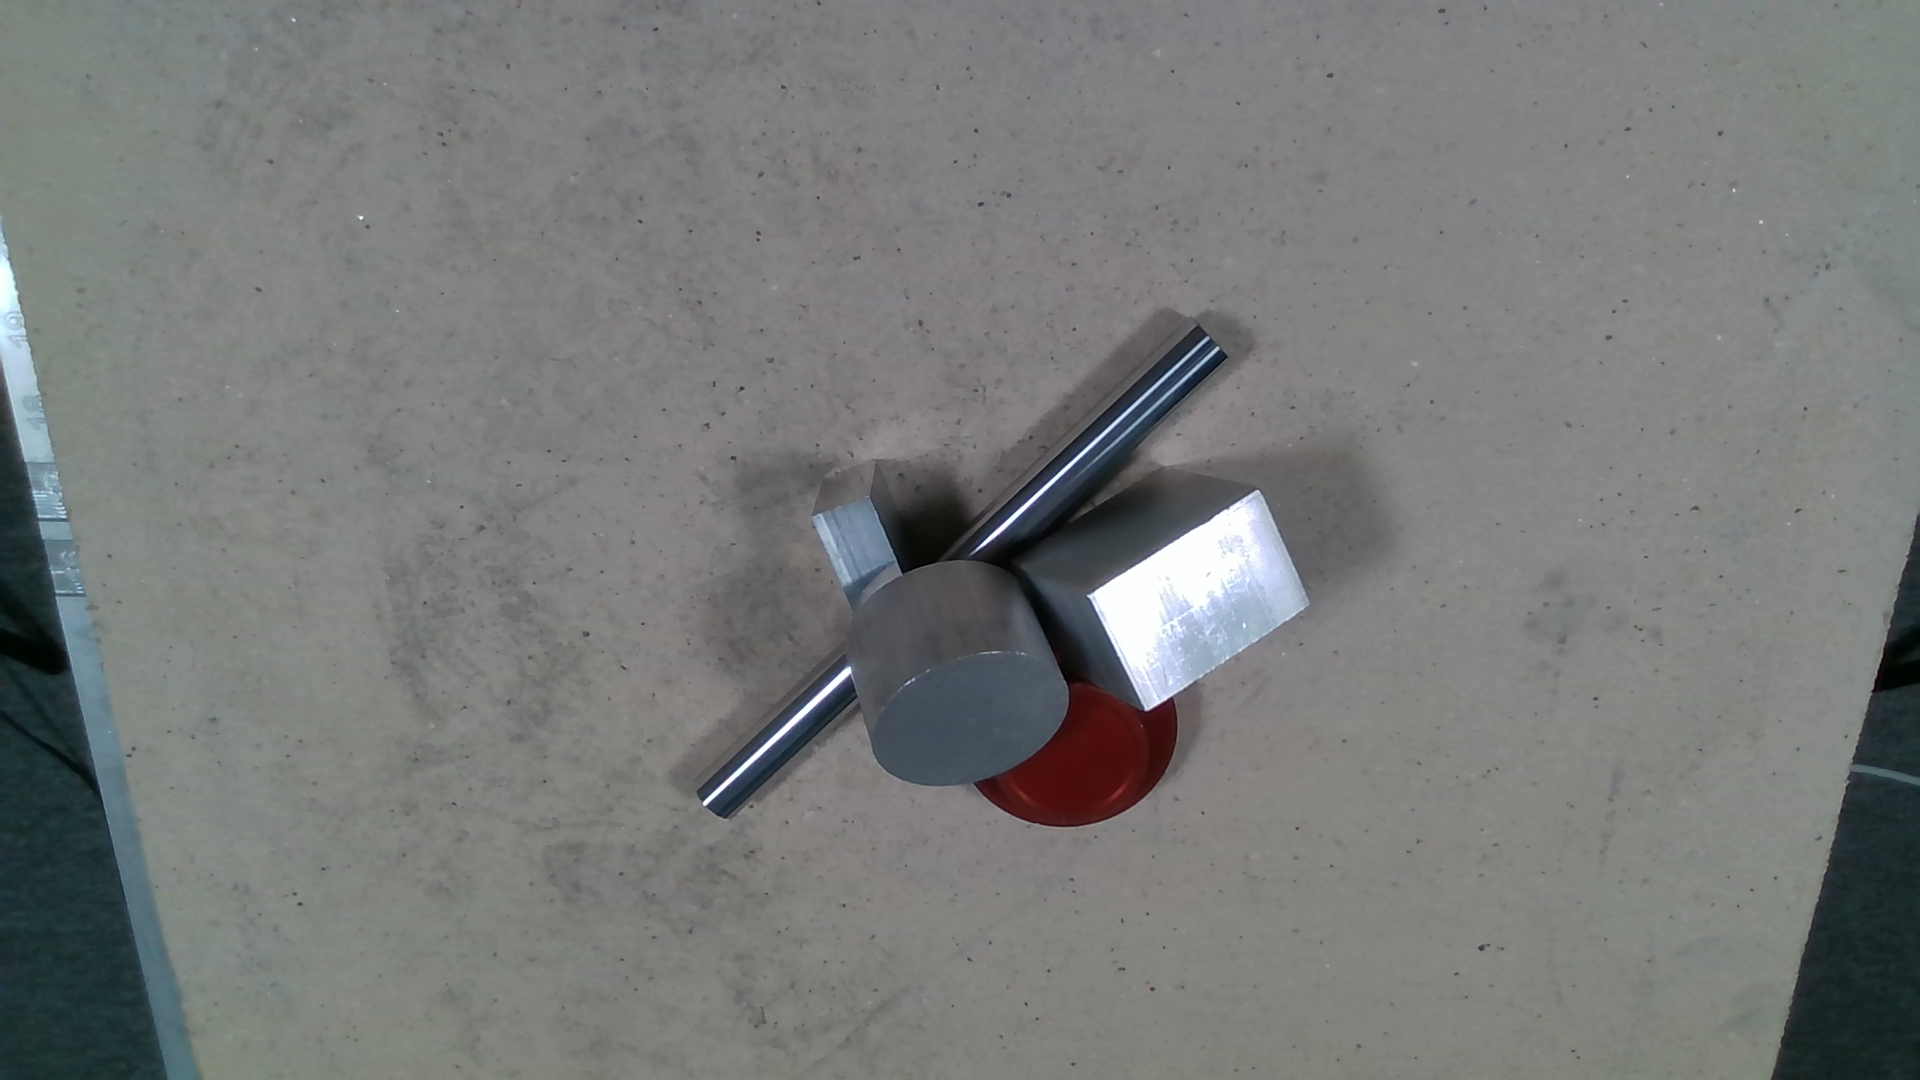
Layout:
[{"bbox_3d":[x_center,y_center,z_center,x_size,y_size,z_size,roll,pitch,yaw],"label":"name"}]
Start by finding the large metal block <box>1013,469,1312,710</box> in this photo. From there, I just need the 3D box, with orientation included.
[{"bbox_3d":[0.078,0.016,0.550,0.080,0.080,0.050,-31,107,-12],"label":"large metal block"}]

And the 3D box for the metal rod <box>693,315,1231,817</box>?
[{"bbox_3d":[-0.006,0.017,0.592,0.300,0.025,0.025,-43,105,14],"label":"metal rod"}]

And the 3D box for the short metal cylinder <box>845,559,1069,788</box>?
[{"bbox_3d":[-0.003,0.054,0.552,0.080,0.050,0.080,-11,135,-11],"label":"short metal cylinder"}]

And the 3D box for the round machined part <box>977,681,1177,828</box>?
[{"bbox_3d":[0.047,0.085,0.606,0.098,0.042,0.098,0,110,0],"label":"round machined part"}]

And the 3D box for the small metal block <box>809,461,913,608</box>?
[{"bbox_3d":[-0.039,0.000,0.572,0.025,0.050,0.050,-20,109,7],"label":"small metal block"}]
